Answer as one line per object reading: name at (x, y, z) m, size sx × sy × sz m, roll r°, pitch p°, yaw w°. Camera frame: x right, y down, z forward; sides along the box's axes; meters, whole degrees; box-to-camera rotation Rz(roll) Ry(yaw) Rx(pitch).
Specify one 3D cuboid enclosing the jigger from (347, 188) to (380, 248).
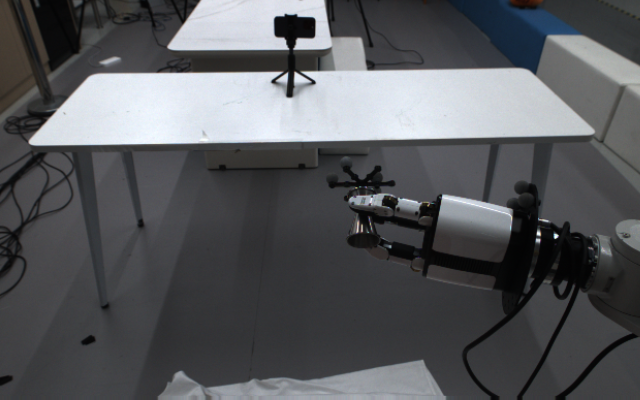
jigger at (0.055, 0.019, 0.620) m, size 0.043 × 0.043 × 0.071 m, roll 2°, pitch 59°, yaw -1°
